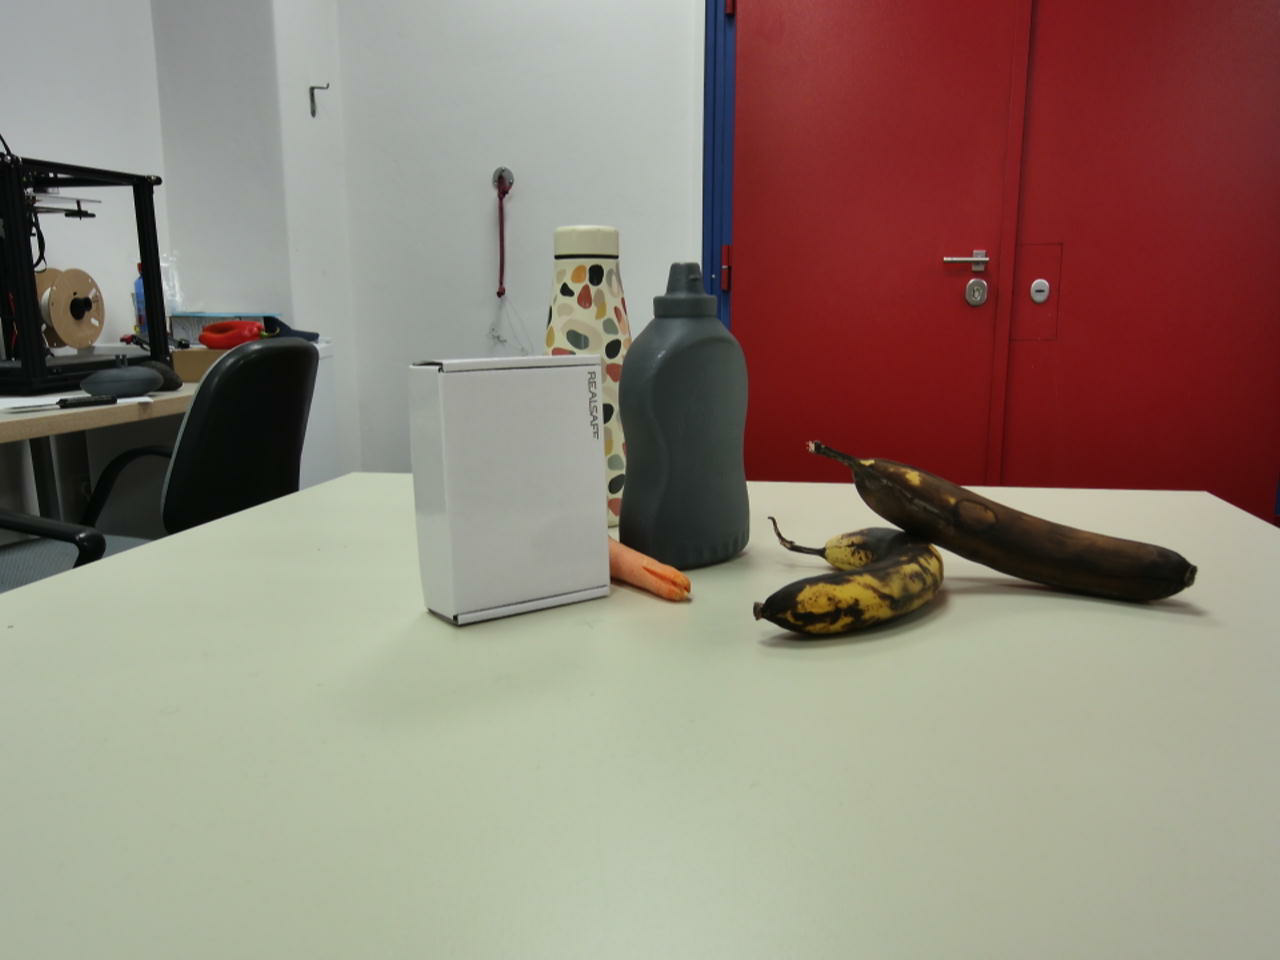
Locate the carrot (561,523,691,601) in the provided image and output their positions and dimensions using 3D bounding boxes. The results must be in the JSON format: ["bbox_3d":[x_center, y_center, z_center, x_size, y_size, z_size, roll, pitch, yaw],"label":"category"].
[{"bbox_3d":[-0.012,0.051,0.659,0.030,0.032,0.136,-4,9,-33],"label":"carrot"}]
